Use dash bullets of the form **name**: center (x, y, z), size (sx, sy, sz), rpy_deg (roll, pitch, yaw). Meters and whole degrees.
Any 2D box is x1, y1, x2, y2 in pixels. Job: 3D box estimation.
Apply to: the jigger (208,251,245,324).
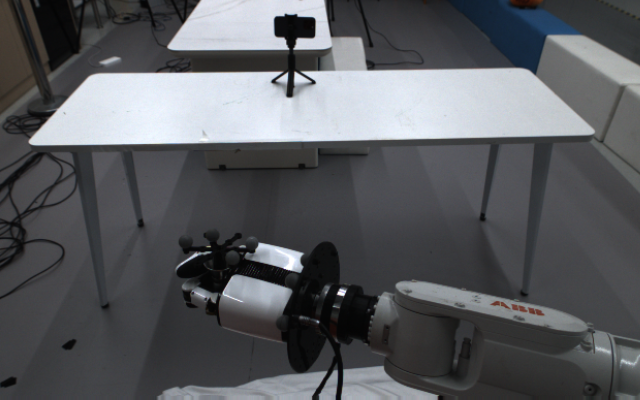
- **jigger**: center (-0.124, 0.107, 0.630), size (0.043, 0.071, 0.043), rpy_deg (3, 25, -1)
